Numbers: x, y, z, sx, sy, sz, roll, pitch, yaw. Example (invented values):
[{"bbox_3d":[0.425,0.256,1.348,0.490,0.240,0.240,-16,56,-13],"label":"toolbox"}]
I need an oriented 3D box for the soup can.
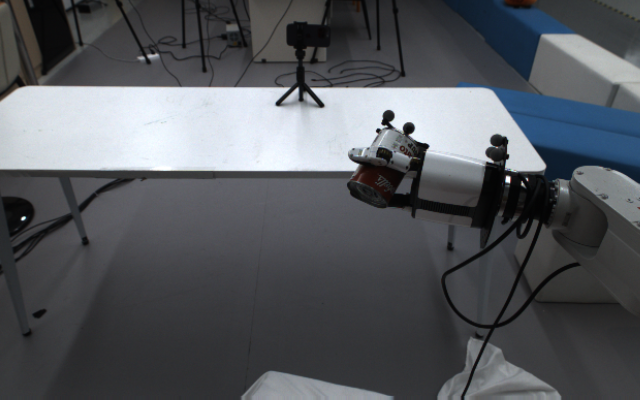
[{"bbox_3d":[0.095,-0.048,0.713,0.067,0.067,0.101,23,72,28],"label":"soup can"}]
